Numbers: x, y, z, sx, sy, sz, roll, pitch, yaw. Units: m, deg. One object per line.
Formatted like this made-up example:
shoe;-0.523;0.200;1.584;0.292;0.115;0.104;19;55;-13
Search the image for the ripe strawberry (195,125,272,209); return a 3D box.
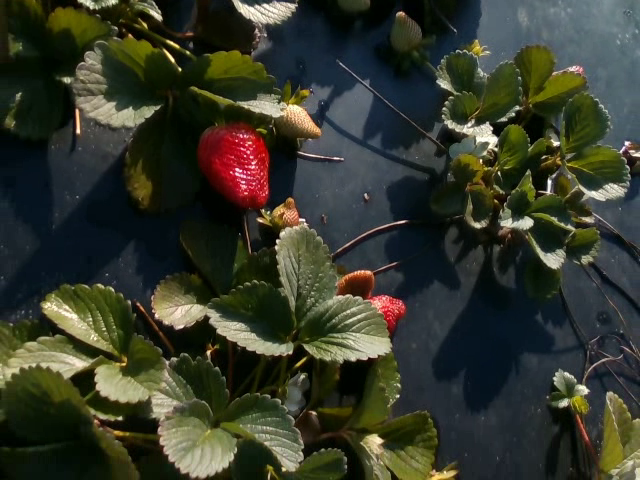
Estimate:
ripe strawberry;-0.052;-0.047;0.403;0.057;0.072;0.055;-38;-25;21
